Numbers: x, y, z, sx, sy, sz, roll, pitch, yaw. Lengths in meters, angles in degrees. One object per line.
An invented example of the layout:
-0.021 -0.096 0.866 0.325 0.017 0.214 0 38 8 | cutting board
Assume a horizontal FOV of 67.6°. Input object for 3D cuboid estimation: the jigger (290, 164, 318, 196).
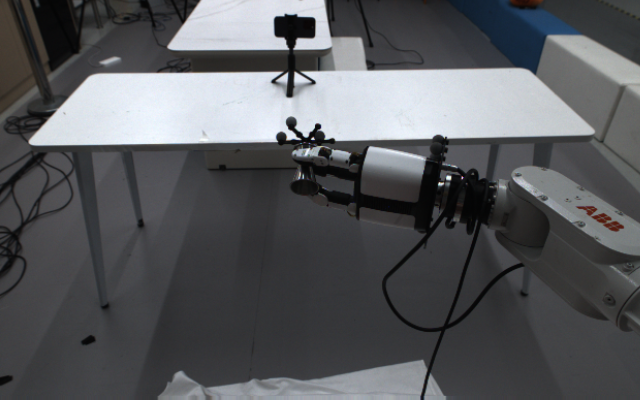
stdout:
-0.022 -0.050 0.719 0.043 0.043 0.071 2 59 -1 | jigger
